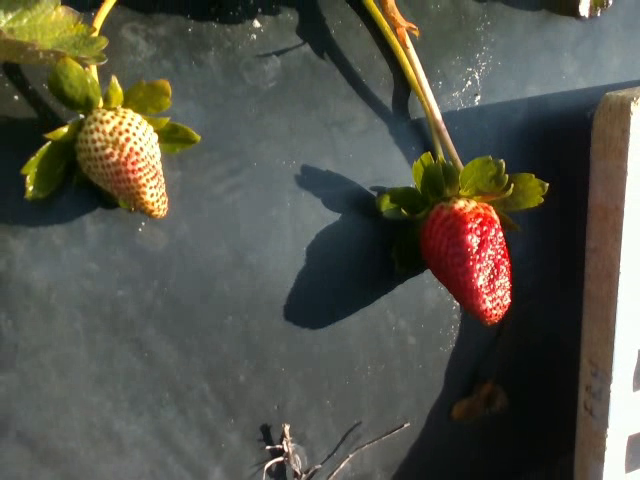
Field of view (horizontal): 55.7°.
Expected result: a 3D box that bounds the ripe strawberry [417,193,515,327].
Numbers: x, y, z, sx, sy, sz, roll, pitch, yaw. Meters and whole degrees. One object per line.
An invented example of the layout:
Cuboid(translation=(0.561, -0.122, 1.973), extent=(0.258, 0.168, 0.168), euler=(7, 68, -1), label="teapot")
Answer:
Cuboid(translation=(0.021, 0.002, 0.082), extent=(0.015, 0.022, 0.015), euler=(-5, -32, -20), label="ripe strawberry")
